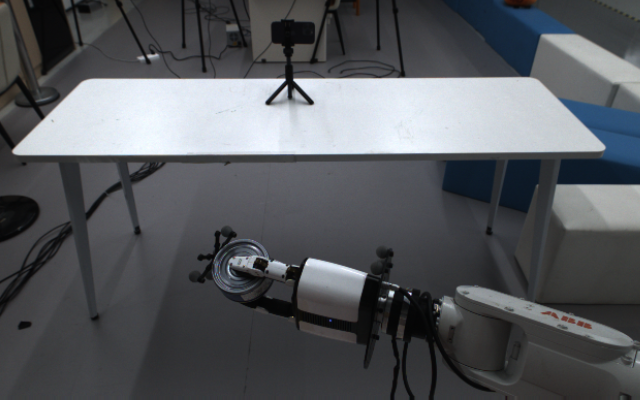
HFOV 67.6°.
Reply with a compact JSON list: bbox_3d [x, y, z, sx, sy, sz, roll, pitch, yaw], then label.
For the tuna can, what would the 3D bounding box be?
[{"bbox_3d":[-0.104,0.105,0.682,0.085,0.034,0.085,-3,59,5],"label":"tuna can"}]
